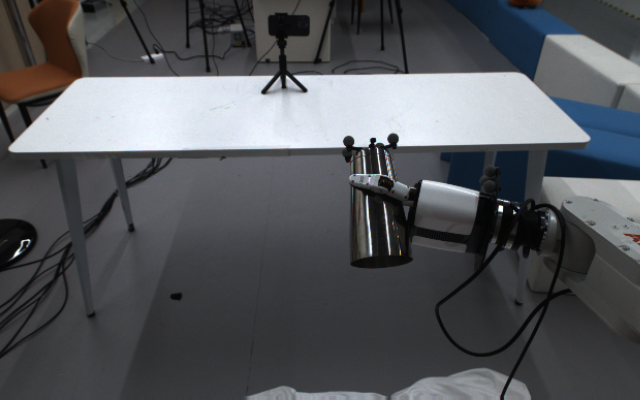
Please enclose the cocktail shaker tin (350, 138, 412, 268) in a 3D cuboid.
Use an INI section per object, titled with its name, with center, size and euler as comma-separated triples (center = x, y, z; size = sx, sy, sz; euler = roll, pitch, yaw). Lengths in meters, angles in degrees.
[cocktail shaker tin]
center = 0.085, 0.011, 0.734
size = 0.093, 0.093, 0.170
euler = -2, 71, -6
